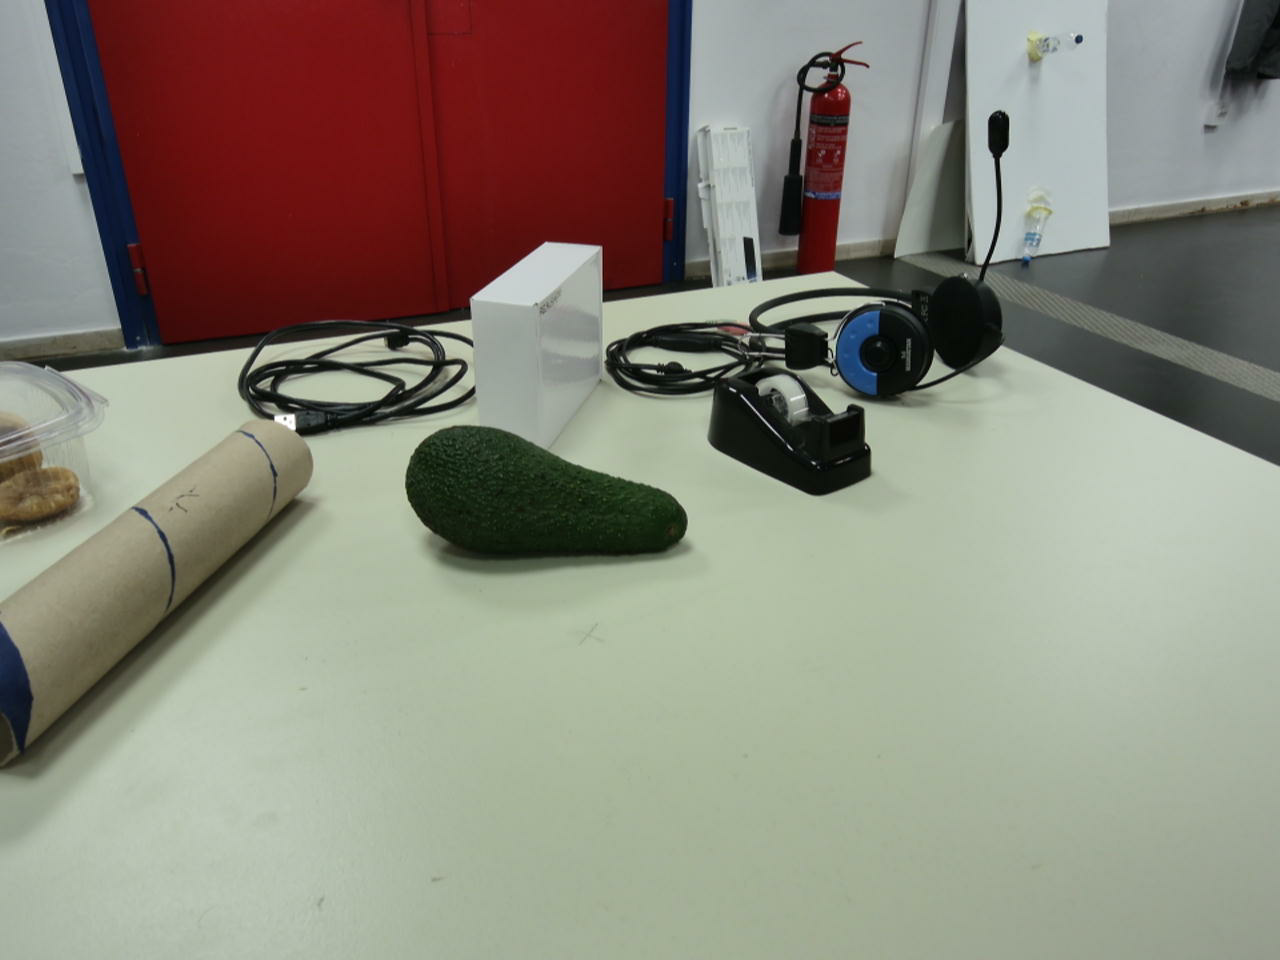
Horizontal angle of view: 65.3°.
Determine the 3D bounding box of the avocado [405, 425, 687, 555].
[{"bbox_3d":[-0.047,0.003,0.506,0.141,0.067,0.063,-4,26,-9],"label":"avocado"}]
